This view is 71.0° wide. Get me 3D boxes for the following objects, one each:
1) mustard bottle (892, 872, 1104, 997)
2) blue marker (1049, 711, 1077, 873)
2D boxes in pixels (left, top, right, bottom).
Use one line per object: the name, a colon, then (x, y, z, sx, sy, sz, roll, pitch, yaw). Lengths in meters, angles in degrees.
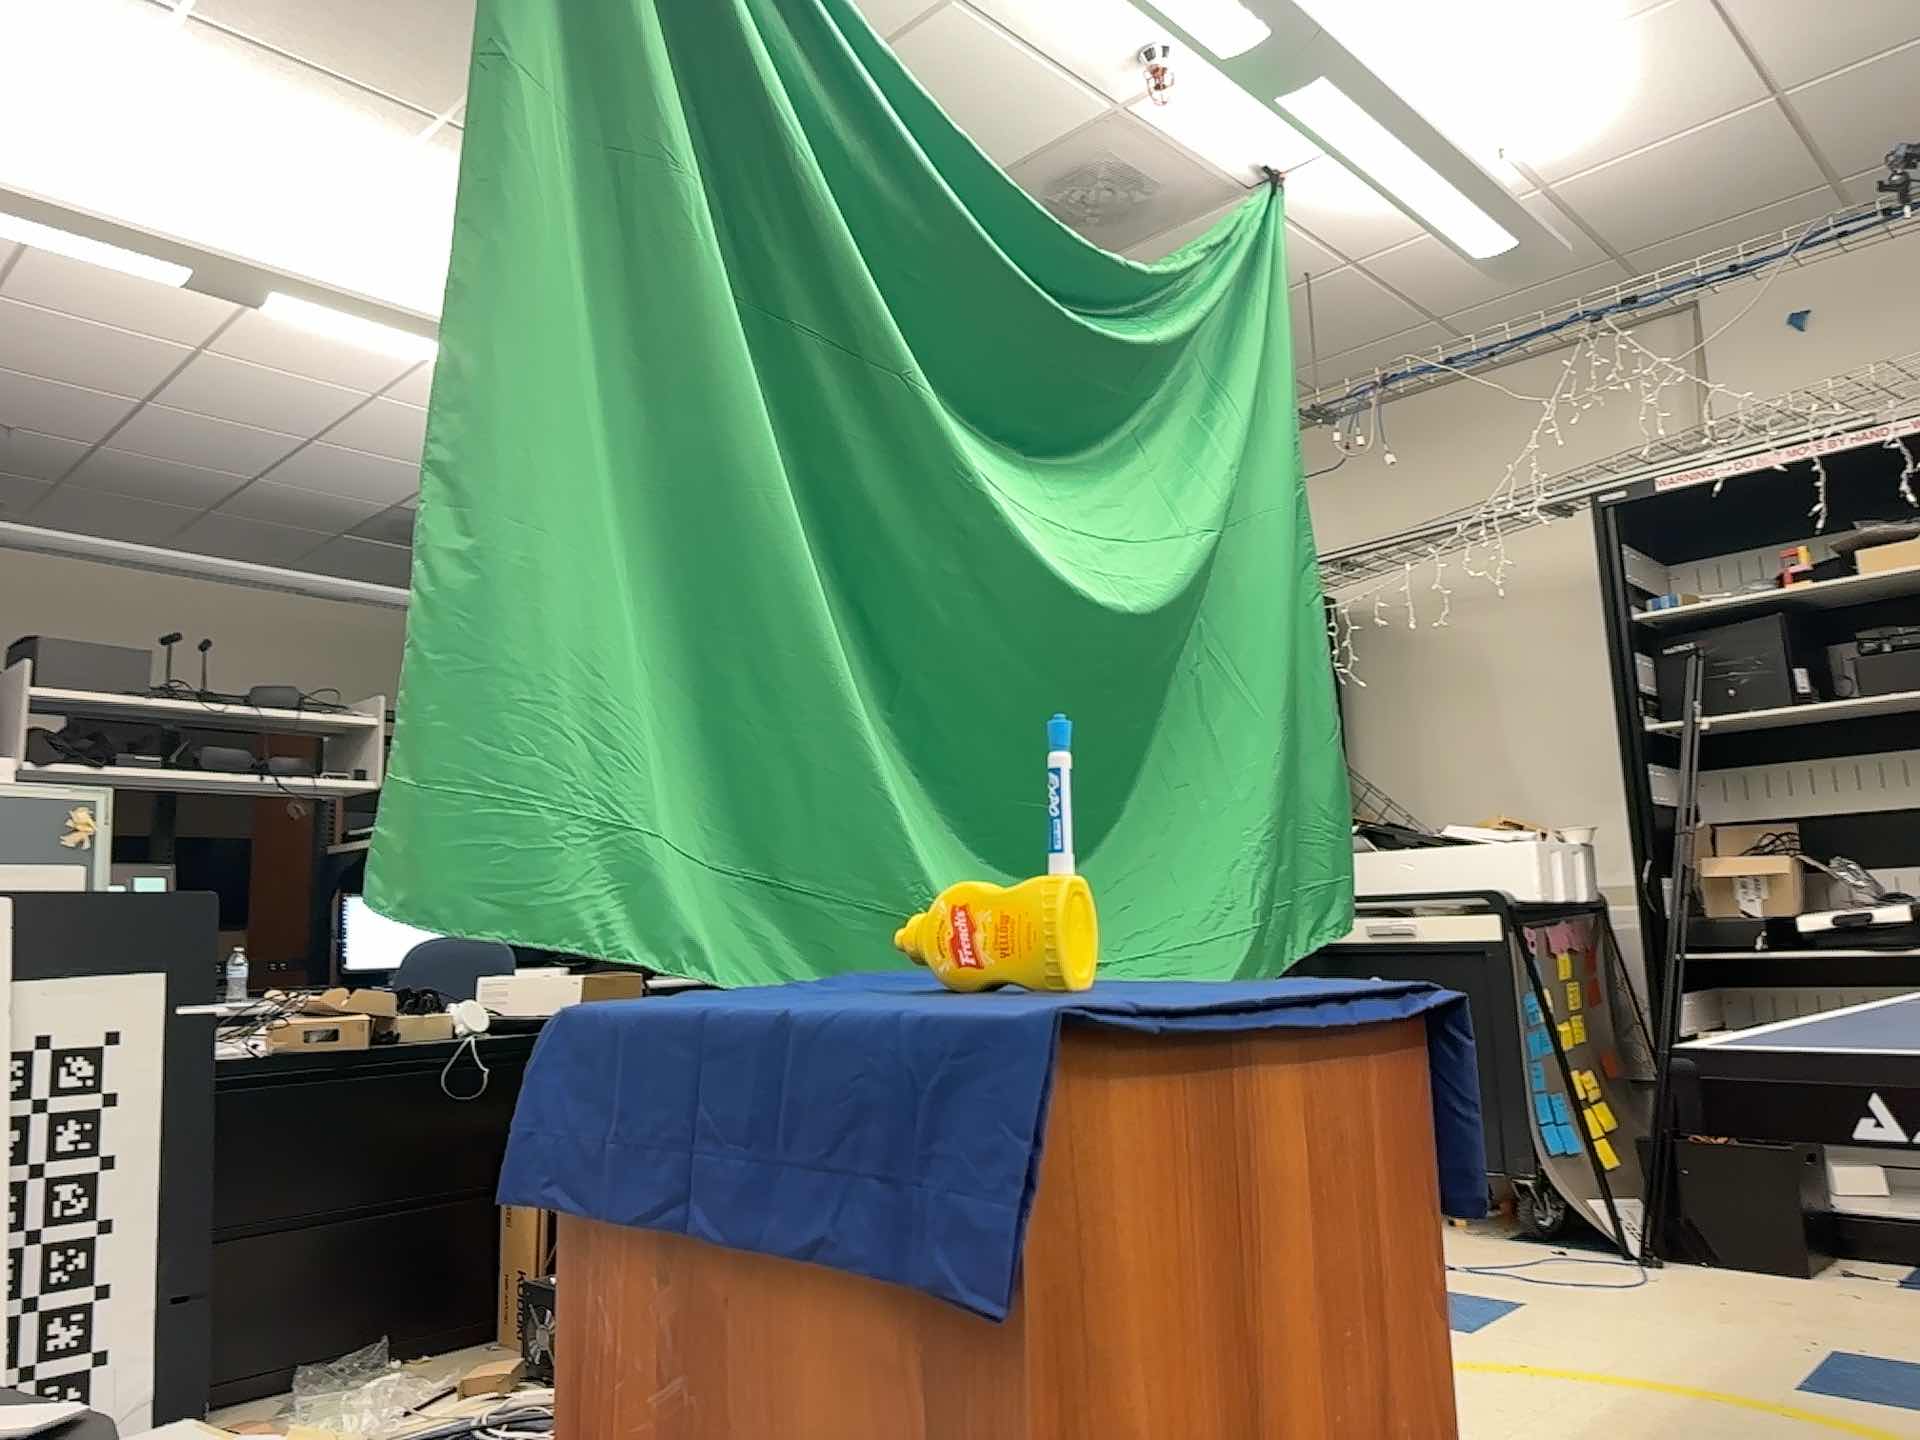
mustard bottle: (0.021, 0.167, 1.042, 0.184, 0.092, 0.054, -8, -4, 37)
blue marker: (0.077, 0.053, 1.010, 0.020, 0.121, 0.020, 0, -10, 0)
